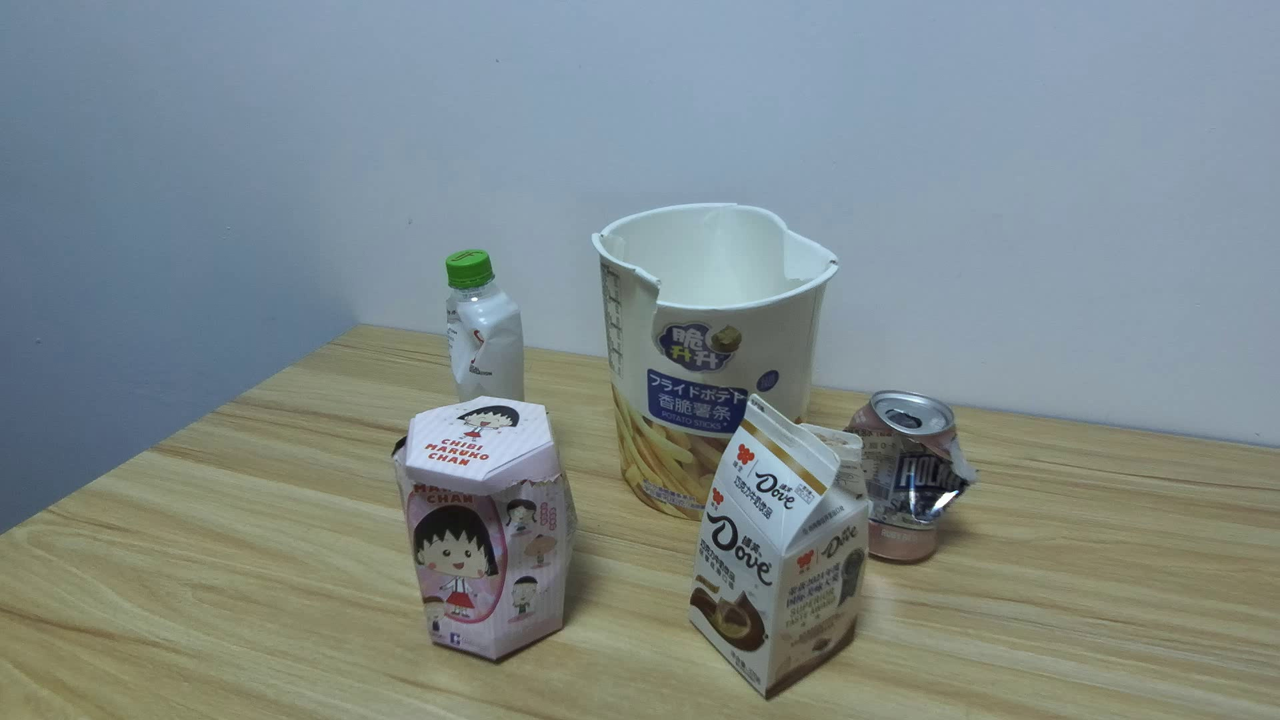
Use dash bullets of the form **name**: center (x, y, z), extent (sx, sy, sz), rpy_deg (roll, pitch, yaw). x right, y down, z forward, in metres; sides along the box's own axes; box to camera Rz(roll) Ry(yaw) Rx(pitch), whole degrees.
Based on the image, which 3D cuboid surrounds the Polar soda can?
- **Polar soda can**: center (0.177, 0.078, 0.478), extent (0.074, 0.114, 0.070), rpy_deg (-16, 36, -19)

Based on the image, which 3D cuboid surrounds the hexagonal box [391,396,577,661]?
- **hexagonal box**: center (-0.091, 0.099, 0.425), extent (0.090, 0.134, 0.090), rpy_deg (-13, 28, -28)

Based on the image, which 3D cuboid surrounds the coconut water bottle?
- **coconut water bottle**: center (-0.114, 0.012, 0.535), extent (0.069, 0.187, 0.069), rpy_deg (-1, 23, 1)

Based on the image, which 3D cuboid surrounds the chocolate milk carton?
- **chocolate milk carton**: center (0.077, 0.095, 0.395), extent (0.073, 0.155, 0.084), rpy_deg (-18, 31, -28)

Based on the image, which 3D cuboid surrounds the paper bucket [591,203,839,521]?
- **paper bucket**: center (0.054, 0.001, 0.535), extent (0.146, 0.197, 0.202), rpy_deg (-13, 29, -18)
